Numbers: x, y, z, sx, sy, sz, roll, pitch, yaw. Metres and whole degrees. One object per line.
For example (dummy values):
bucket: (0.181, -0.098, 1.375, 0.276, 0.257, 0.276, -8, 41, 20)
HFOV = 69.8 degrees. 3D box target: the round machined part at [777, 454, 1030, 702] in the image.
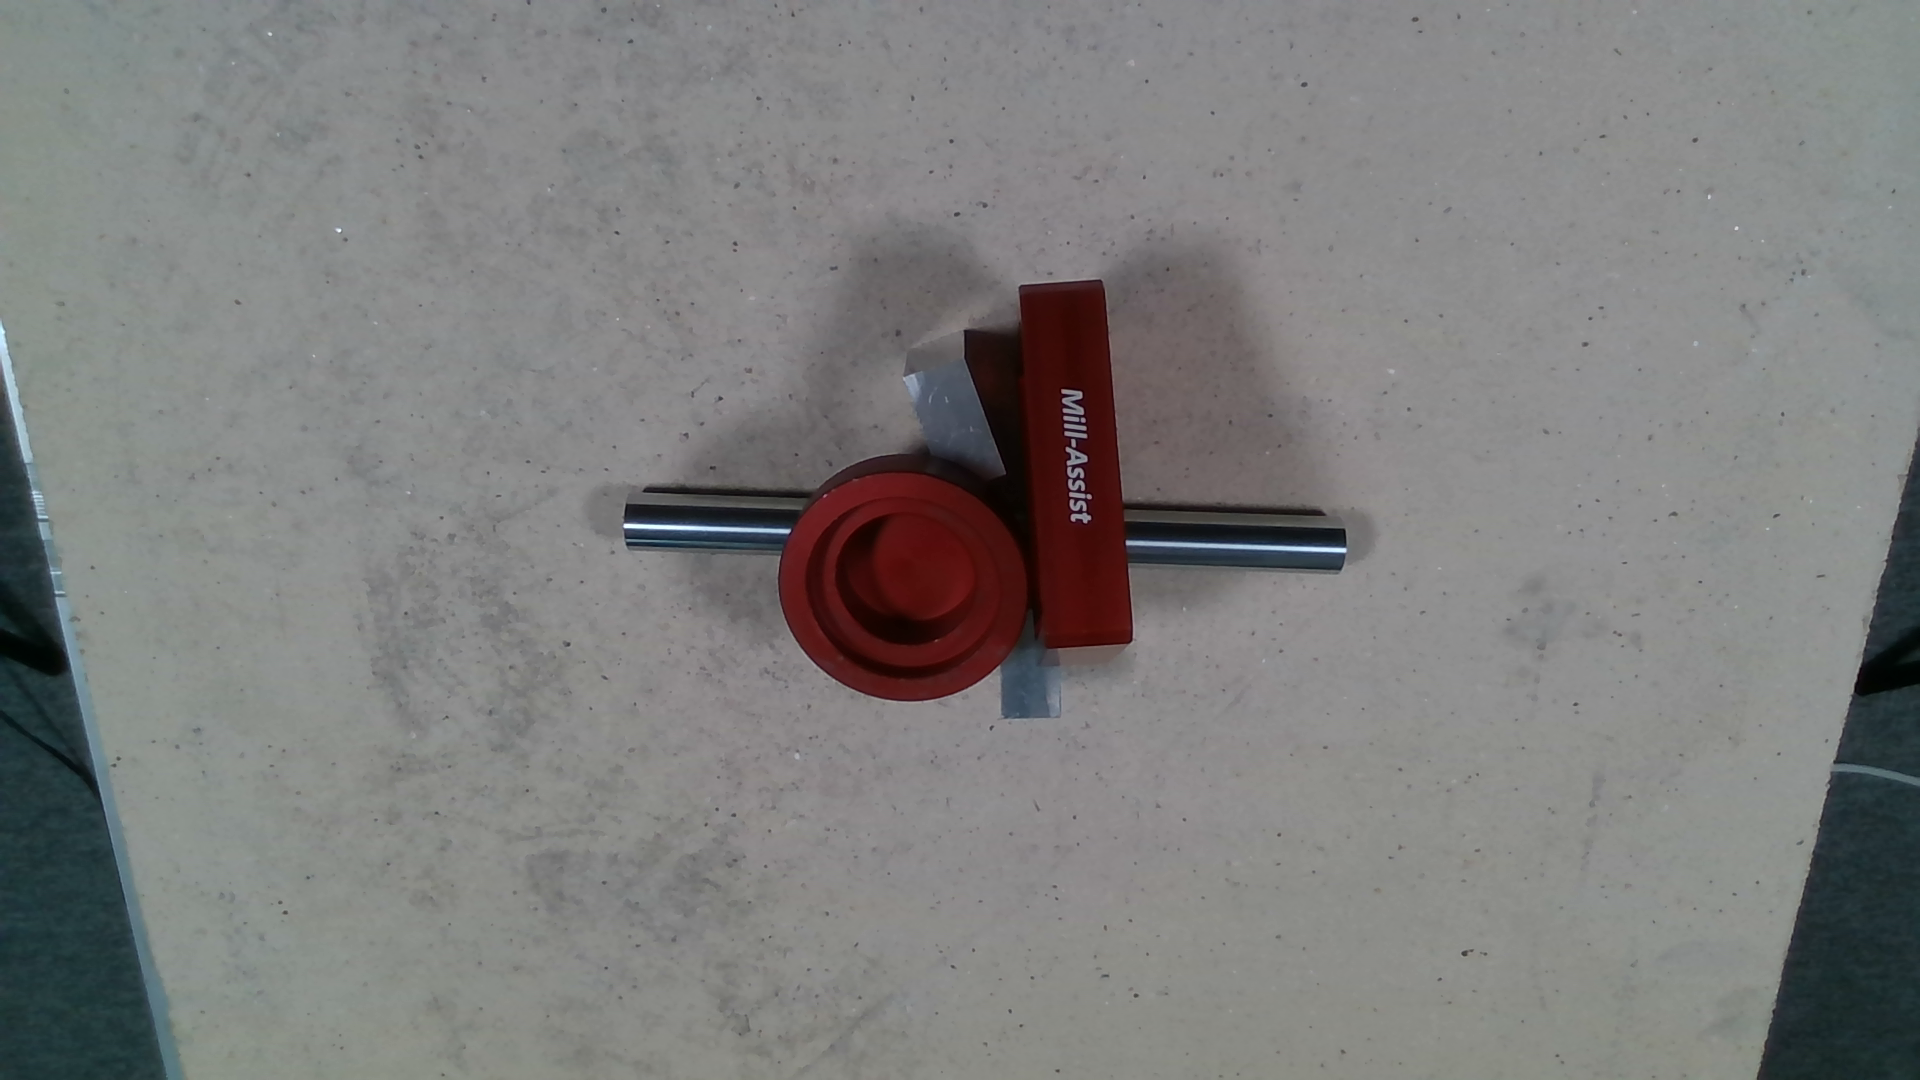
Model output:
round machined part: (-0.021, 0.012, 0.551, 0.098, 0.042, 0.098, 1, 112, 3)

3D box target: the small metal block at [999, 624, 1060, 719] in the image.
small metal block: (0.028, 0.042, 0.587, 0.025, 0.050, 0.050, -2, 110, 1)

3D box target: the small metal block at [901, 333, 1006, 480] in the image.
small metal block: (-0.002, -0.052, 0.552, 0.025, 0.050, 0.050, -18, 109, 7)

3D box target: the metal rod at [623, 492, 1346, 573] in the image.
metal rod: (0.011, -0.003, 0.584, 0.300, 0.025, 0.025, 2, 110, -1)

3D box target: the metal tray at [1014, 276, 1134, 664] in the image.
metal tray: (0.040, -0.022, 0.517, 0.030, 0.090, 0.130, -4, 81, 0)
